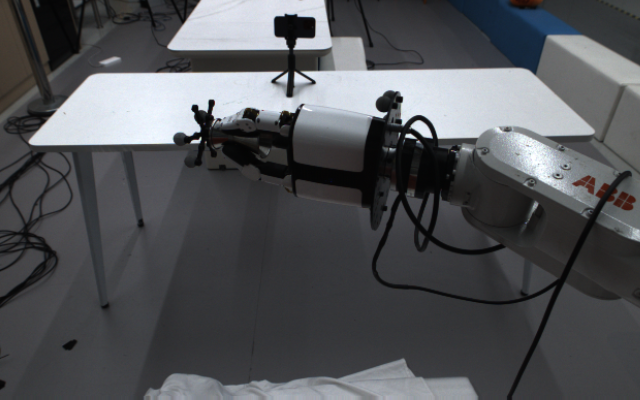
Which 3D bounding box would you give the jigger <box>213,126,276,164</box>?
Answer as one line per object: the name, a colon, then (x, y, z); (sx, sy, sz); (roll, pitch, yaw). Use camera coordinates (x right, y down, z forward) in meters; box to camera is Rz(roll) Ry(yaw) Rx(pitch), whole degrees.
jigger: (-0.097, -0.084, 0.605); (0.071, 0.043, 0.043); (9, 35, 15)
